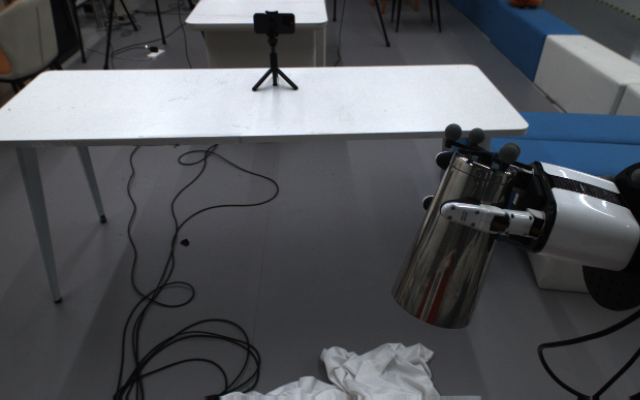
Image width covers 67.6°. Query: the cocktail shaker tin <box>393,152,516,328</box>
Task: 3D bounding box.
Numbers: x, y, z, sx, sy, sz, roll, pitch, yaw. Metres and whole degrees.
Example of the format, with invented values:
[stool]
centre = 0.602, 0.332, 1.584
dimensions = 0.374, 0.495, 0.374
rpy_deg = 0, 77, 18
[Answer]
[cocktail shaker tin]
centre = 0.149, 0.036, 0.522
dimensions = 0.093, 0.170, 0.093
rpy_deg = 14, 18, -5
